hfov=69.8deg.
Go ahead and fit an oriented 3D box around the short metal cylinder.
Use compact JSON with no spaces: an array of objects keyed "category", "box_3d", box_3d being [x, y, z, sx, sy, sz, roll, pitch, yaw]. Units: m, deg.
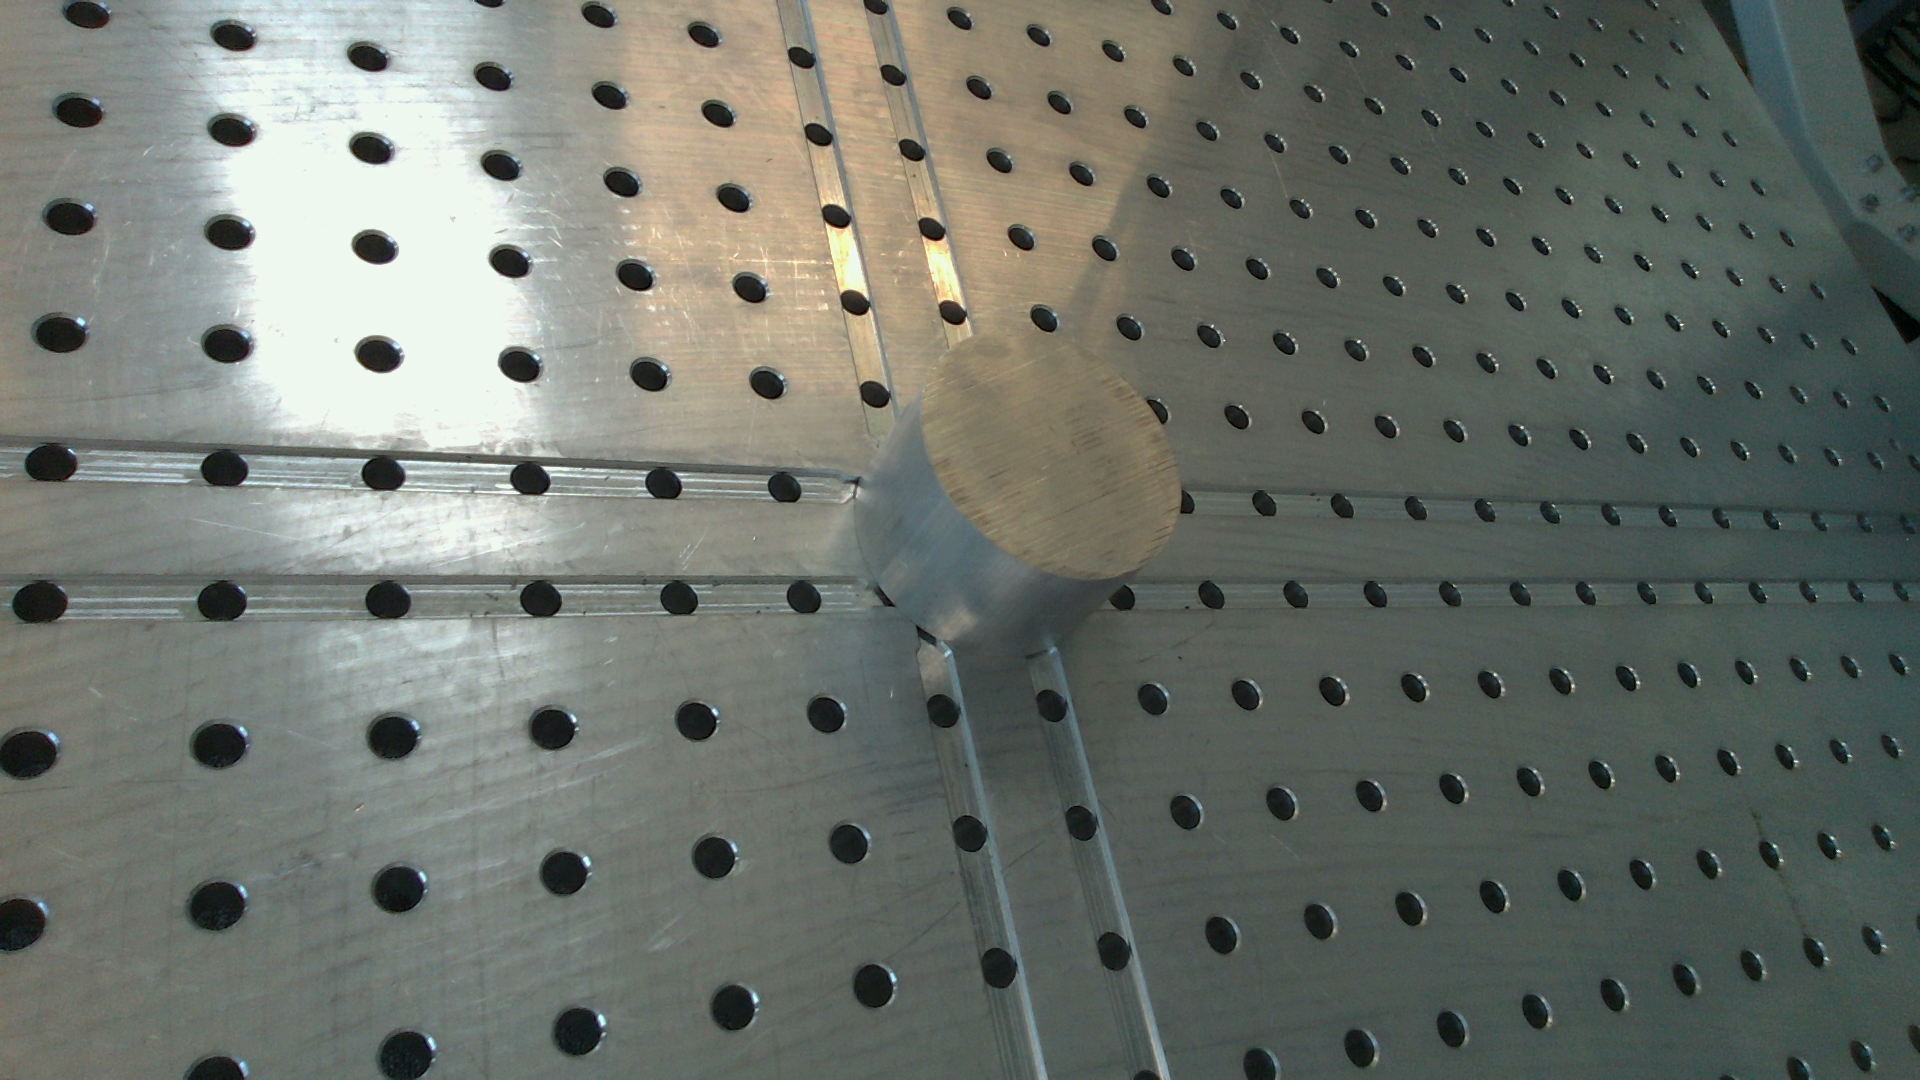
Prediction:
[{"category":"short metal cylinder","box_3d":[0.015,-0.013,0.392,0.080,0.050,0.080,14,56,-21]}]
